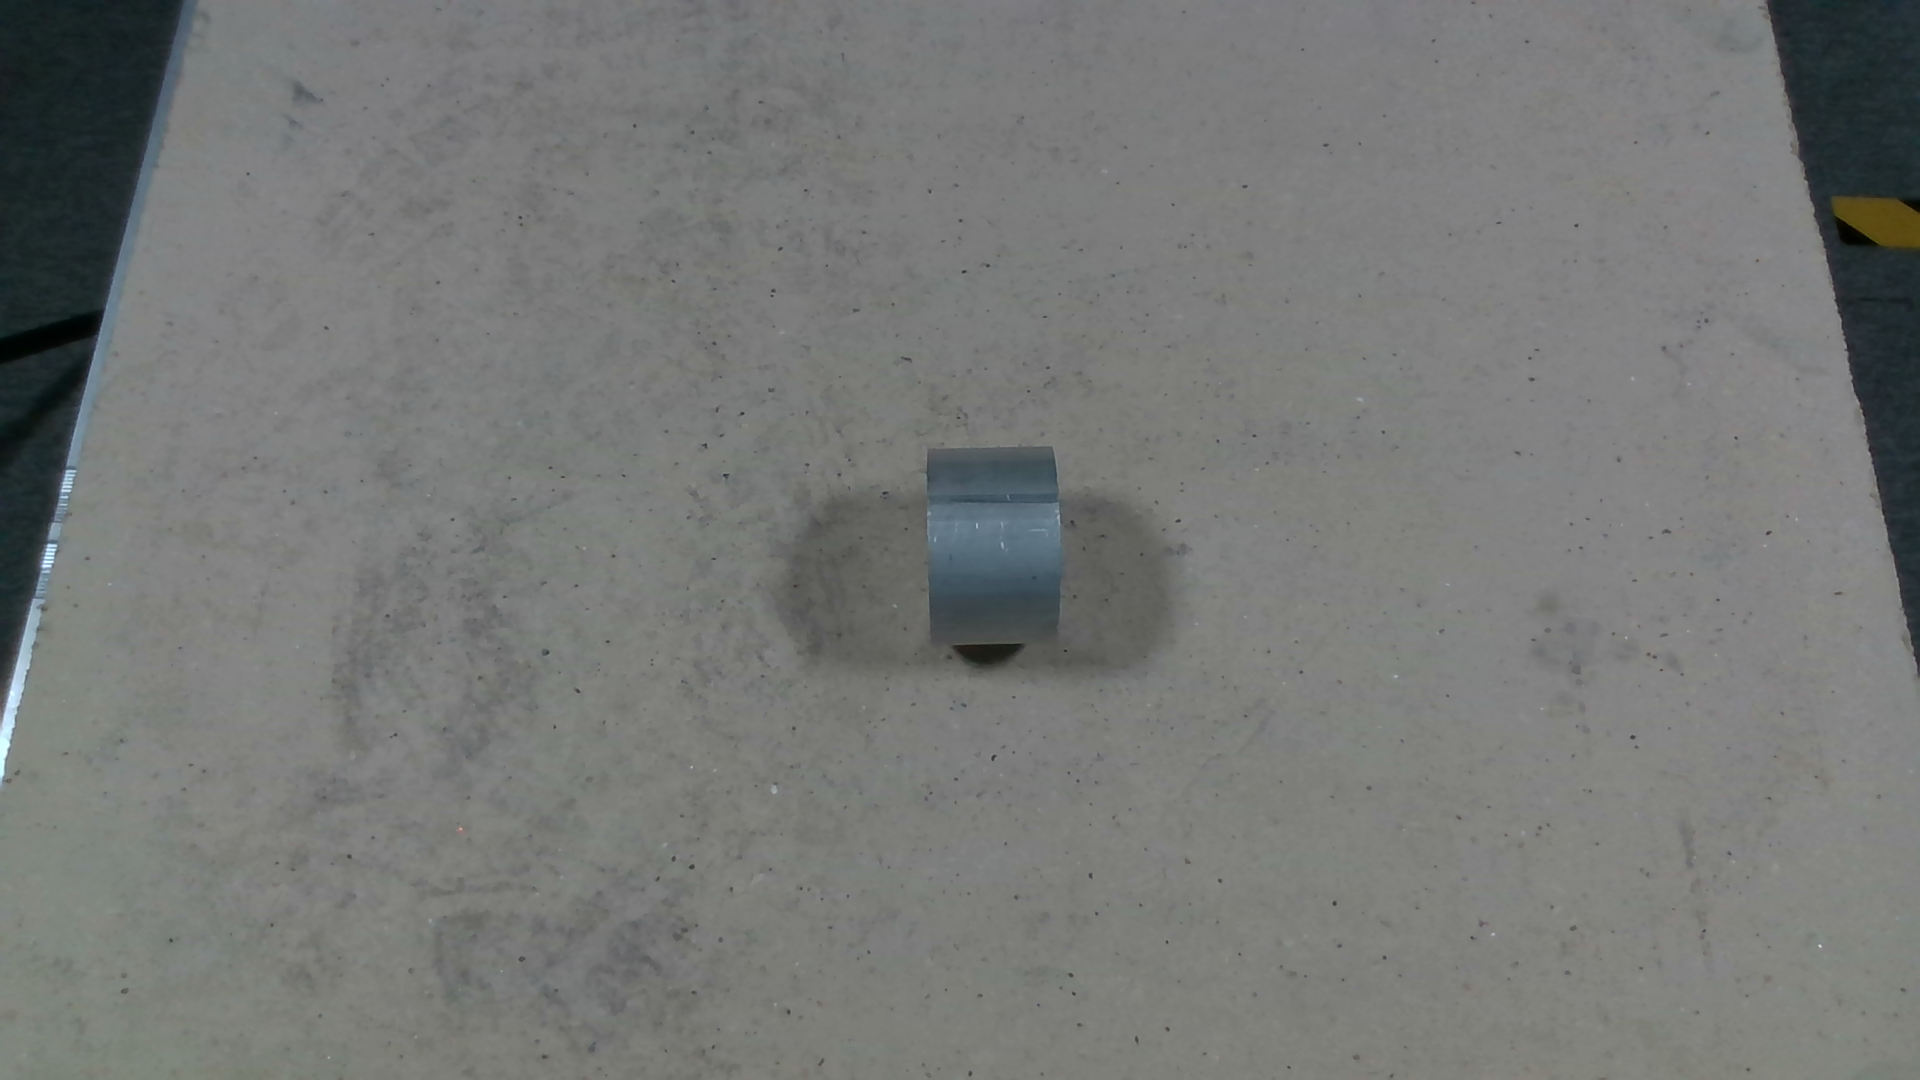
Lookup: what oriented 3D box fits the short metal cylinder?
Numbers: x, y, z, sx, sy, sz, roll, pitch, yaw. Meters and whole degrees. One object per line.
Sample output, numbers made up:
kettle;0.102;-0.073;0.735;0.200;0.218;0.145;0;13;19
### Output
short metal cylinder;0.013;0.003;0.559;0.050;0.080;0.080;-1;70;0
